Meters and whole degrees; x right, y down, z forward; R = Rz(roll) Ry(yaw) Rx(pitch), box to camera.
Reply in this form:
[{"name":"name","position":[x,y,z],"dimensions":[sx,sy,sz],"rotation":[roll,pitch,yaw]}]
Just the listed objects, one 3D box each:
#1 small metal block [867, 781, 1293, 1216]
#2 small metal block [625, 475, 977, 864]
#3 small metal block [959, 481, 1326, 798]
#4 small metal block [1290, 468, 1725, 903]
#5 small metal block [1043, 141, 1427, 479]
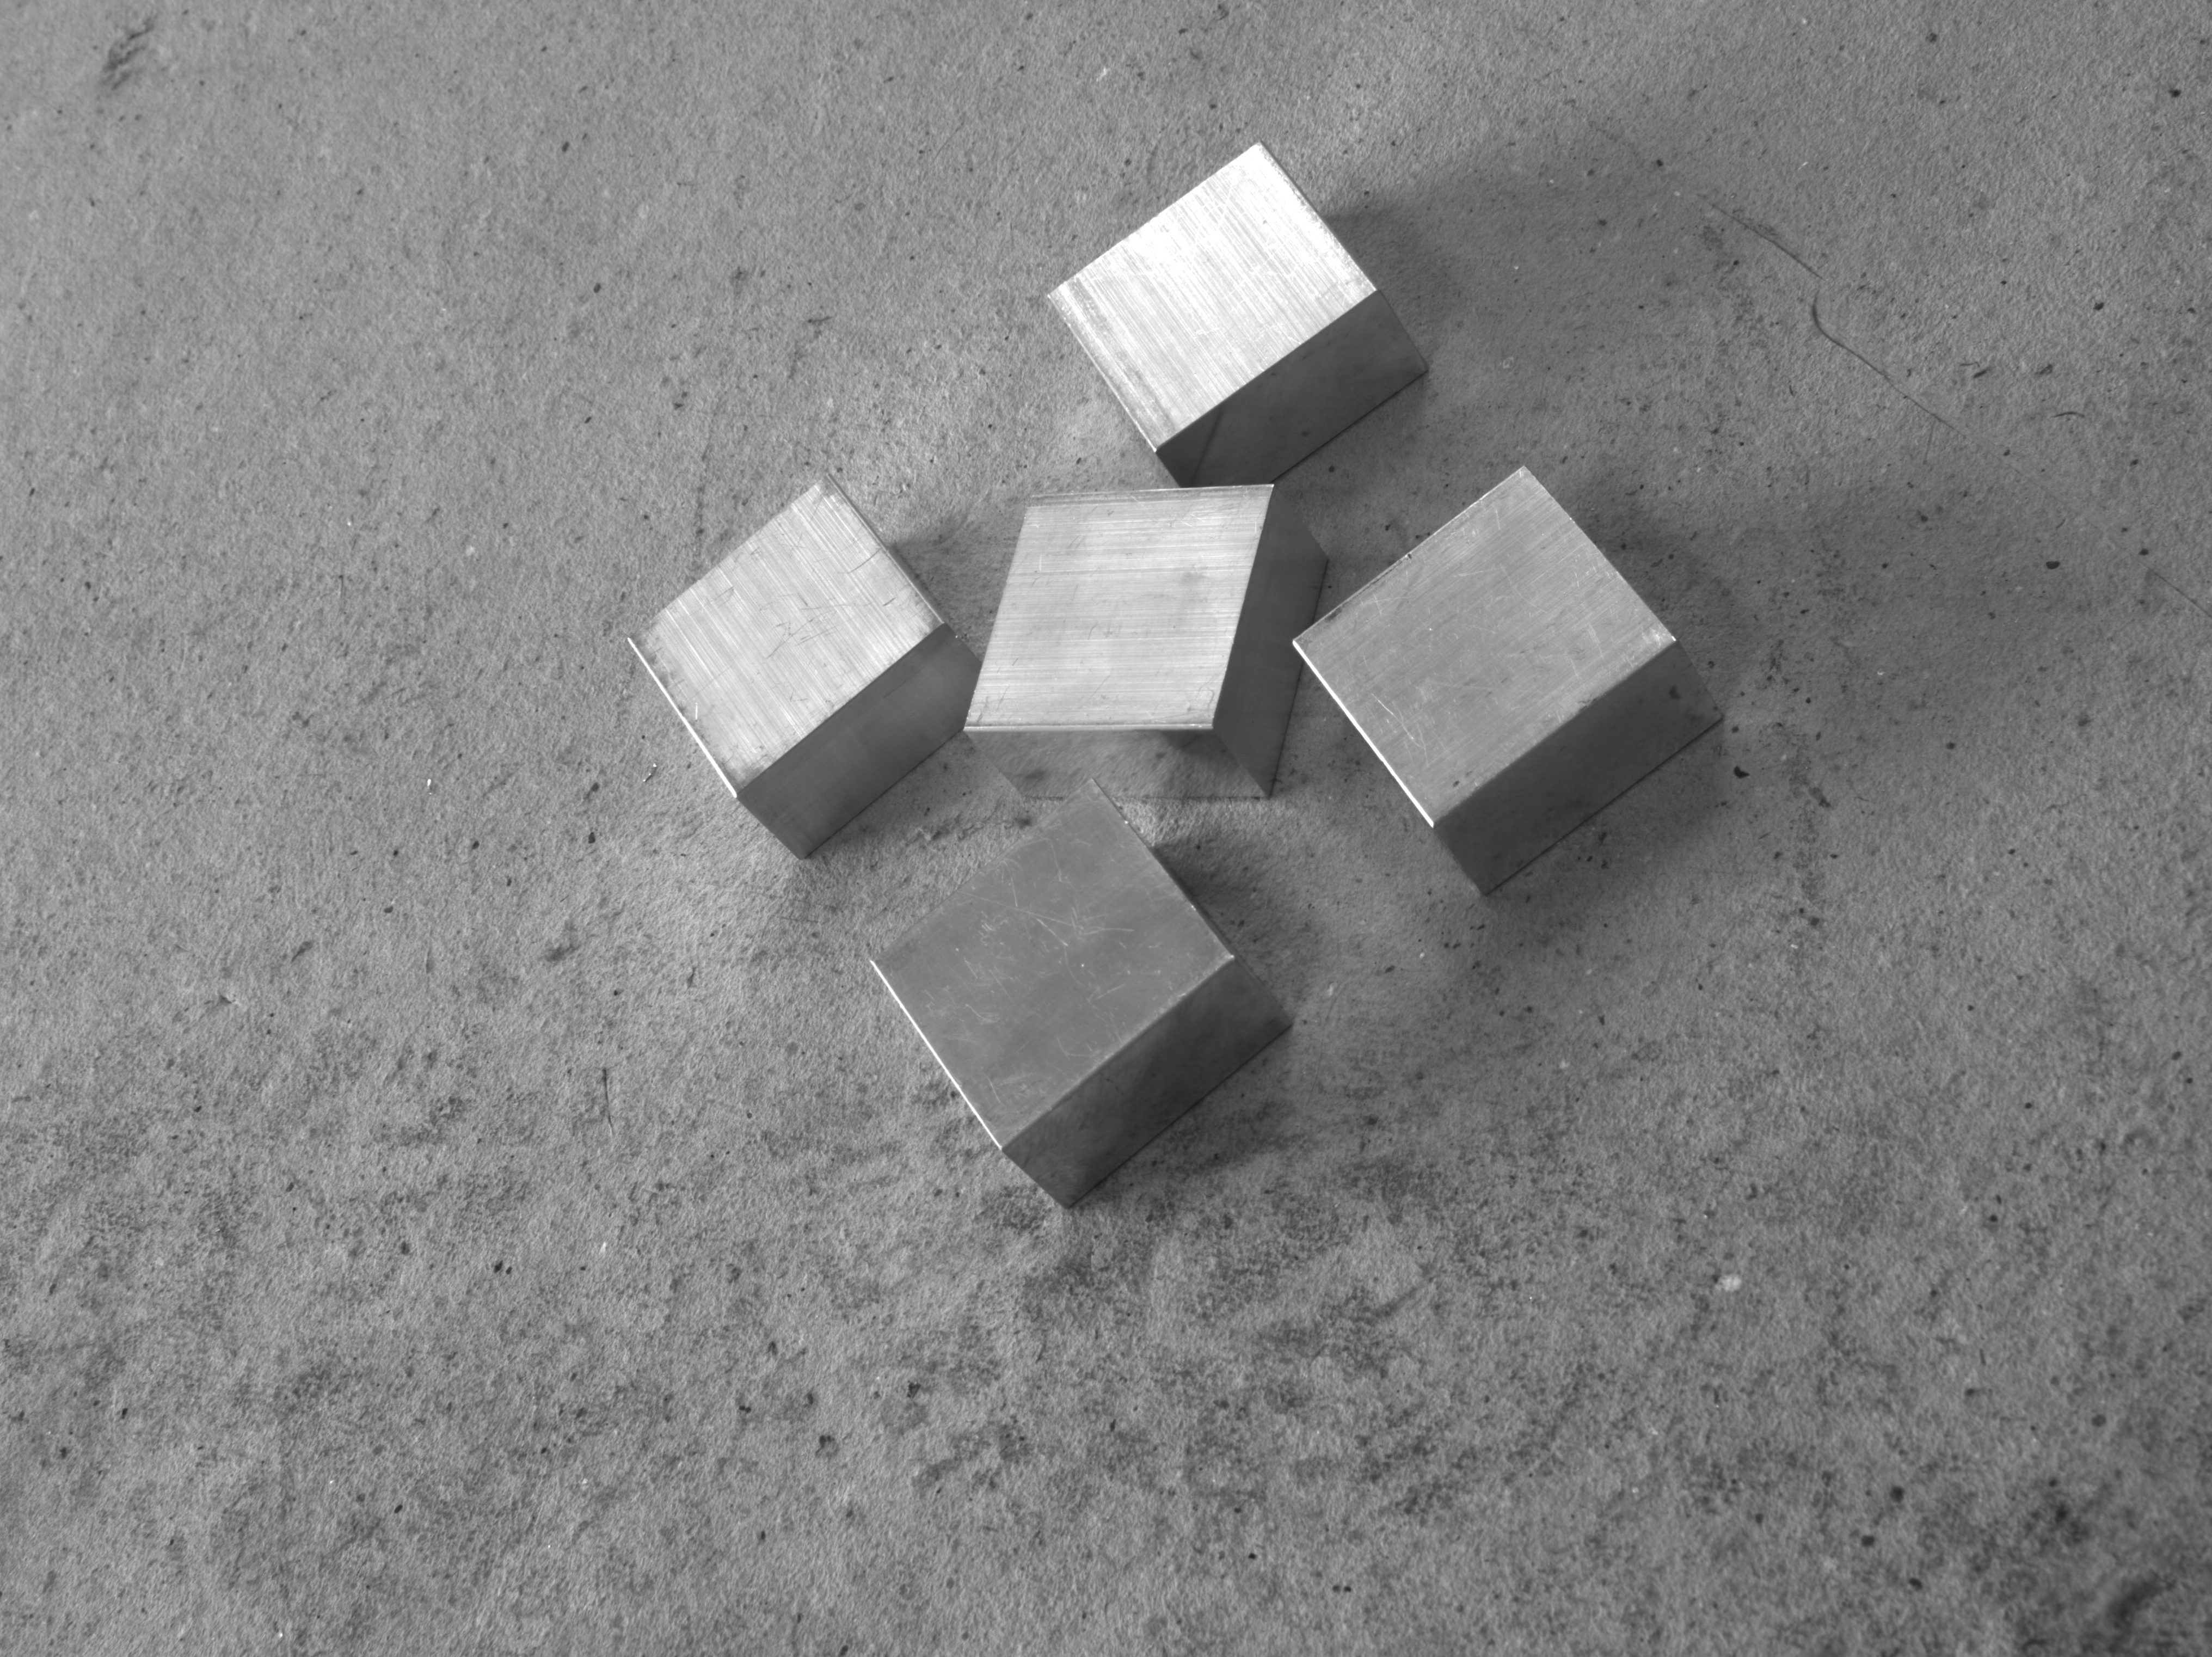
[{"name":"small metal block","position":[-0.005,0.029,0.631],"dimensions":[0.050,0.025,0.050],"rotation":[-39,51,1]},{"name":"small metal block","position":[-0.055,-0.030,0.695],"dimensions":[0.050,0.025,0.050],"rotation":[-39,51,0]},{"name":"small metal block","position":[0.007,-0.033,0.662],"dimensions":[0.050,0.025,0.050],"rotation":[0,62,29]},{"name":"small metal block","position":[0.068,-0.025,0.625],"dimensions":[0.050,0.025,0.050],"rotation":[-37,51,4]},{"name":"small metal block","position":[0.024,-0.093,0.689],"dimensions":[0.050,0.025,0.050],"rotation":[-35,50,5]}]
